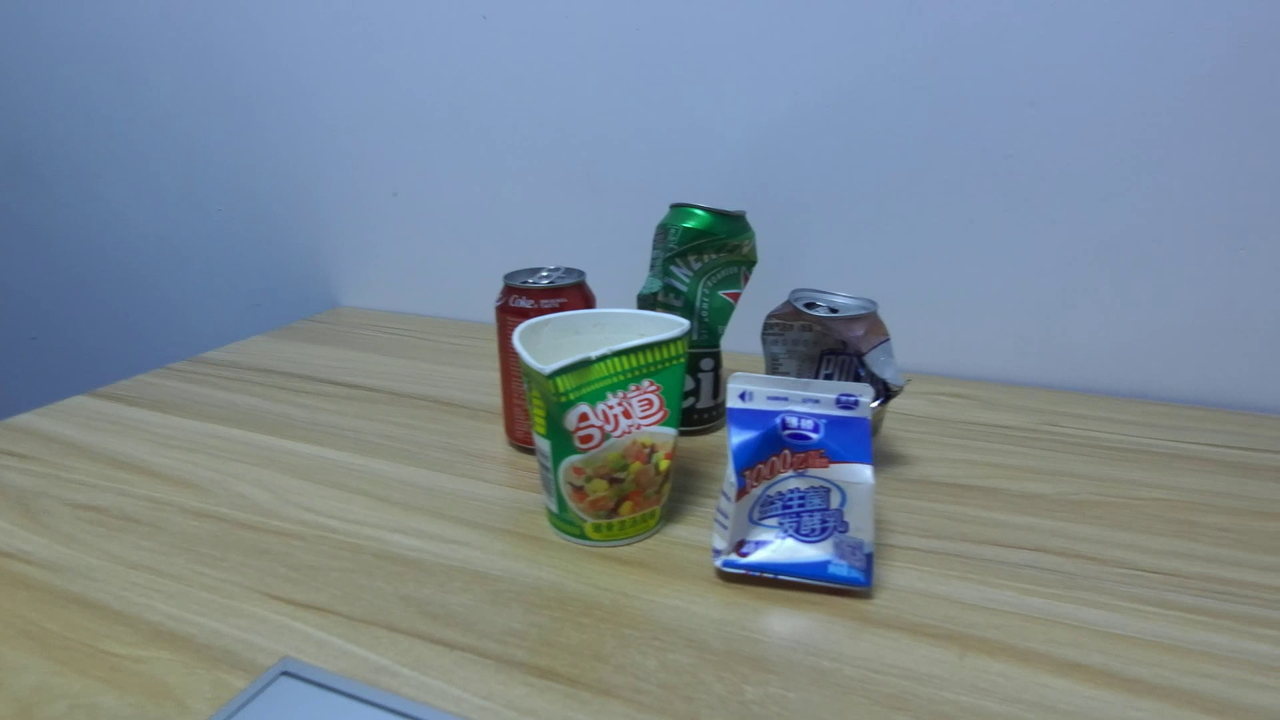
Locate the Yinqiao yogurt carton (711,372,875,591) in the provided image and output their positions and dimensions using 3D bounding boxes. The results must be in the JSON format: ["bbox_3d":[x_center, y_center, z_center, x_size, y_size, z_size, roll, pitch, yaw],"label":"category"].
[{"bbox_3d":[0.079,0.053,0.353,0.077,0.094,0.071,4,15,12],"label":"Yinqiao yogurt carton"}]

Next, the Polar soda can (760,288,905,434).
[{"bbox_3d":[0.116,0.014,0.435,0.074,0.114,0.070,-6,26,-6],"label":"Polar soda can"}]

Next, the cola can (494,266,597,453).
[{"bbox_3d":[-0.061,-0.002,0.477,0.068,0.120,0.068,-1,19,1],"label":"cola can"}]

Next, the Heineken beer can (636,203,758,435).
[{"bbox_3d":[0.036,-0.026,0.490,0.067,0.159,0.079,9,10,22],"label":"Heineken beer can"}]

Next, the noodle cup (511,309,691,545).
[{"bbox_3d":[-0.018,0.035,0.387,0.094,0.109,0.086,-7,21,-17],"label":"noodle cup"}]
